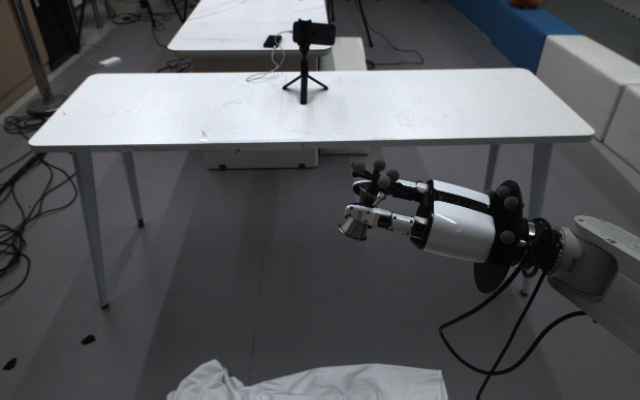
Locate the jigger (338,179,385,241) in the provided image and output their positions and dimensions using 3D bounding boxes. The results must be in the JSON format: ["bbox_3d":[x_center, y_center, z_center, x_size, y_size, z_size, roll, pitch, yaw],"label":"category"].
[{"bbox_3d":[0.057,0.016,0.667,0.043,0.071,0.043,23,19,-8],"label":"jigger"}]
